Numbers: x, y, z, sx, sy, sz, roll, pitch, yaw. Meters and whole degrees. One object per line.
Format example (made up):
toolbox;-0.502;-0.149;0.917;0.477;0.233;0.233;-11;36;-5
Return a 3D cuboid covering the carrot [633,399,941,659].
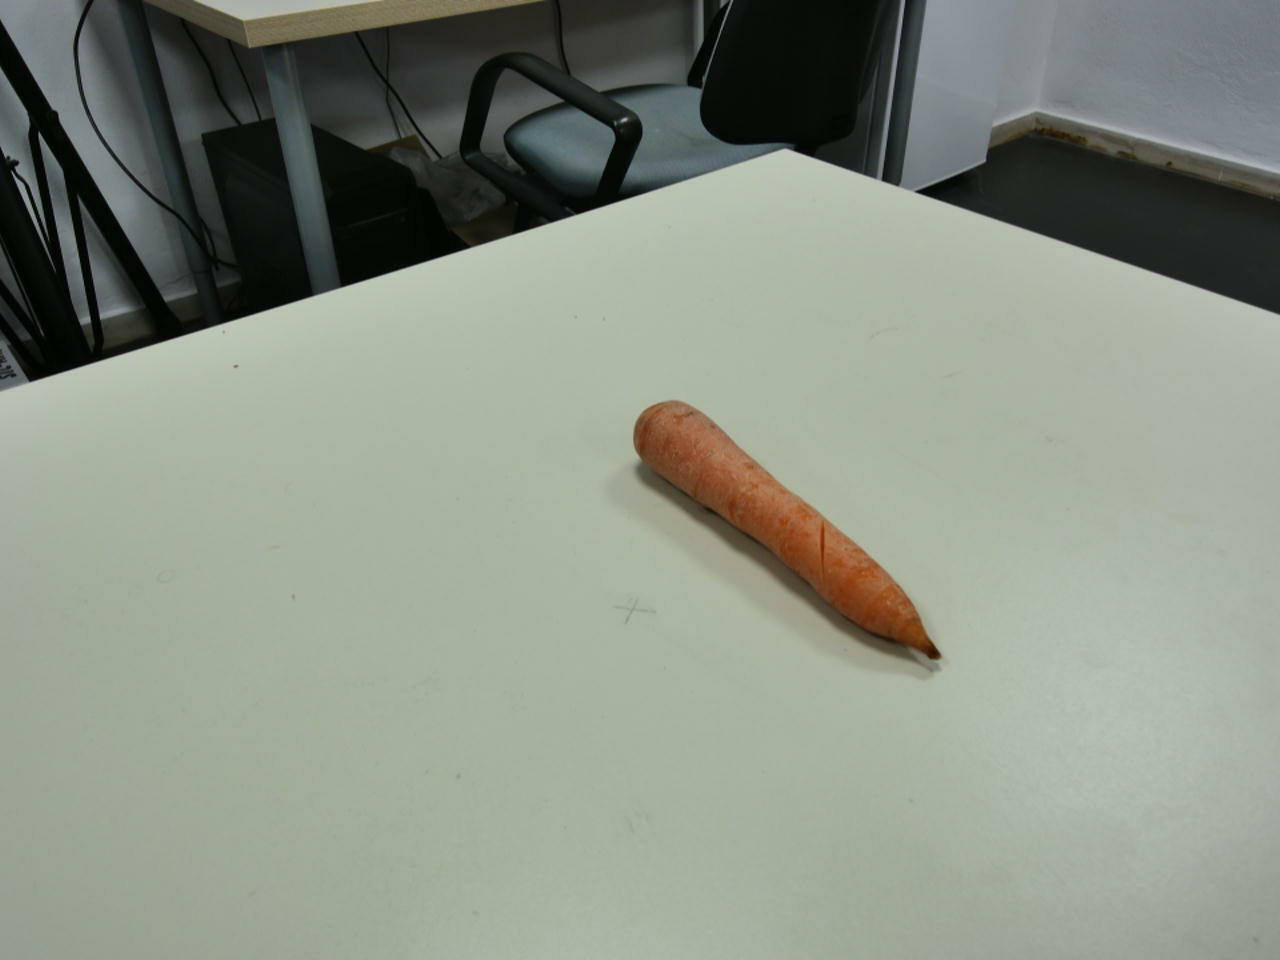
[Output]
carrot;0.064;0.015;0.462;0.039;0.041;0.196;-23;42;-30
